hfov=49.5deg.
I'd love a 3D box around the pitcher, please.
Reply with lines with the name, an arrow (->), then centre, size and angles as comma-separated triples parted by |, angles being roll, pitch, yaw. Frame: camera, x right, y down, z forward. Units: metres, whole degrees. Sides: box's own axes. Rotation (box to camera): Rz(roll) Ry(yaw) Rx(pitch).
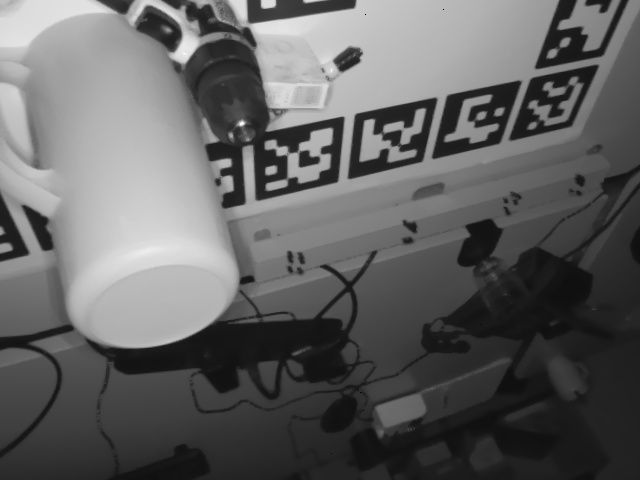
pitcher -> -0.143, -0.053, 0.513 | 0.191, 0.242, 0.131 | 8, 129, -45

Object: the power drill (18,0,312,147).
power drill -> -0.098, -0.147, 0.465 | 0.189, 0.185, 0.056 | 20, 122, -37

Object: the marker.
marker -> 0.006, -0.137, 0.671 | 0.121, 0.019, 0.019 | -30, 142, 3

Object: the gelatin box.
gelatin box -> -0.033, -0.143, 0.600 | 0.090, 0.073, 0.030 | -4, 134, -24
